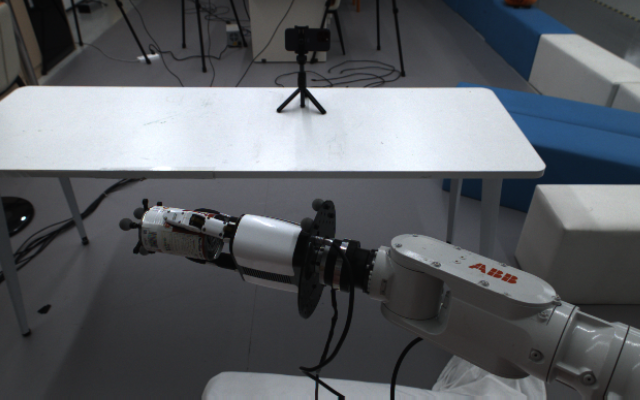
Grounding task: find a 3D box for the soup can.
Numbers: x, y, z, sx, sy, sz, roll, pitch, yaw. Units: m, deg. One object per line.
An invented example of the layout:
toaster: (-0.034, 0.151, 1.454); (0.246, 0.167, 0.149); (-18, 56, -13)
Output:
soup can: (-0.192, 0.048, 0.687); (0.101, 0.067, 0.067); (7, 35, 10)
